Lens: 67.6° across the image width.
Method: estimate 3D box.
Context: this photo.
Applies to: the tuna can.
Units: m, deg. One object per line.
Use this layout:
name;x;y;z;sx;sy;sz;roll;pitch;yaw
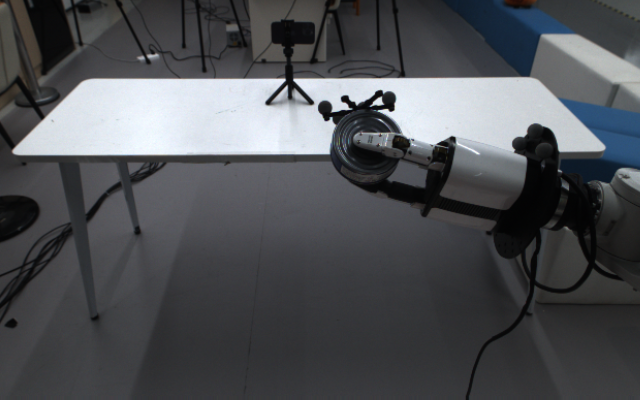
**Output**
tuna can;0.060;-0.058;0.573;0.085;0.034;0.085;0;72;-1
